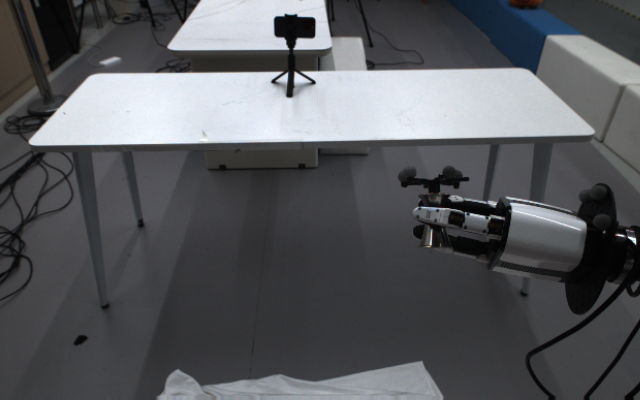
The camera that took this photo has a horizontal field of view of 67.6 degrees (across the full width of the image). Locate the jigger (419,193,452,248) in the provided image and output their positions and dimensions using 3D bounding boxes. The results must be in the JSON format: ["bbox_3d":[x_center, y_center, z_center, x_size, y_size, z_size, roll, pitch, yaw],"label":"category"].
[{"bbox_3d":[0.146,0.026,0.621,0.043,0.071,0.043,1,-5,0],"label":"jigger"}]
